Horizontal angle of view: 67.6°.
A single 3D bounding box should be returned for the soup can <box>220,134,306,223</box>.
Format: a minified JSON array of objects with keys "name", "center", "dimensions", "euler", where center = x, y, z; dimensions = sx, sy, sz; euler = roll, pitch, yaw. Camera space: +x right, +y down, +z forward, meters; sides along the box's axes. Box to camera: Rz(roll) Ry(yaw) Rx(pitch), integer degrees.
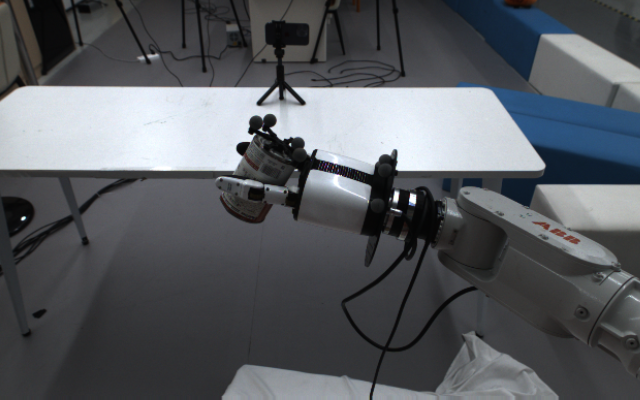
[{"name":"soup can","center":[-0.079,-0.028,0.638],"dimensions":[0.067,0.101,0.067],"euler":[28,22,-12]}]
